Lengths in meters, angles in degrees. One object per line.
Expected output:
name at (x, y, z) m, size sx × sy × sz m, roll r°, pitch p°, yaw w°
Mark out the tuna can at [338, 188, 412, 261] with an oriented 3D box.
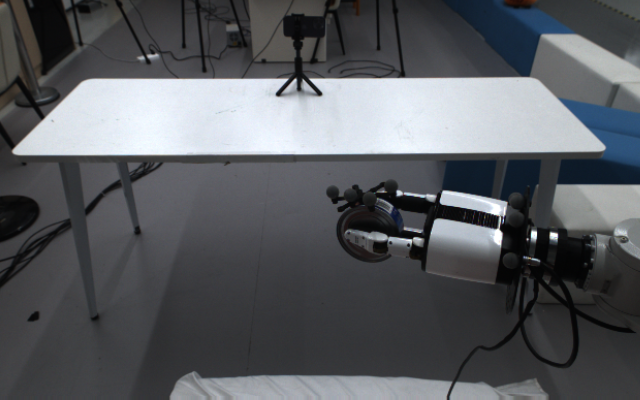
tuna can at (0.069, 0.038, 0.647) m, size 0.085 × 0.085 × 0.034 m, roll 13°, pitch 29°, yaw 15°
